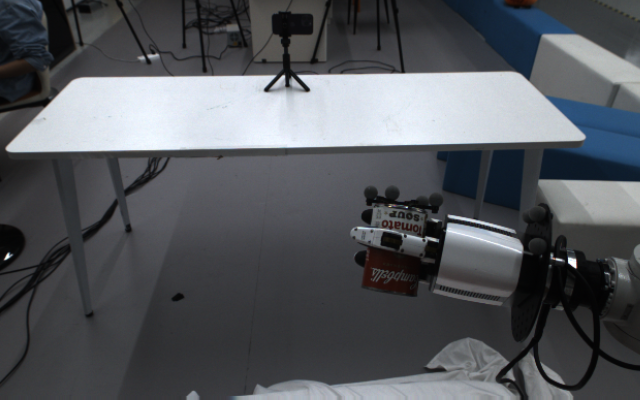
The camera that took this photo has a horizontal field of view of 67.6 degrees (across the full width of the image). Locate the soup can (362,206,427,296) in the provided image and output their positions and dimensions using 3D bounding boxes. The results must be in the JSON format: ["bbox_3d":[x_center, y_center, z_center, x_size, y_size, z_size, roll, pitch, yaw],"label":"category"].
[{"bbox_3d":[0.091,0.060,0.581,0.067,0.101,0.067,9,-6,1],"label":"soup can"}]
